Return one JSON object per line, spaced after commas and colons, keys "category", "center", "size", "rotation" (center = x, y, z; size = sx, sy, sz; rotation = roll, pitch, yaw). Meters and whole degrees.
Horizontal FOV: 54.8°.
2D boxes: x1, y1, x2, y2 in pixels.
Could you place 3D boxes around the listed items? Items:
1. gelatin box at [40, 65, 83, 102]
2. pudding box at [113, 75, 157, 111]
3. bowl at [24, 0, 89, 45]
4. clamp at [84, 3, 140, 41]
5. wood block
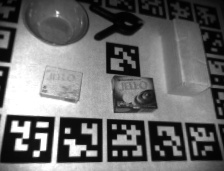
{"category": "gelatin box", "center": [-0.122, -0.004, 0.527], "size": [0.090, 0.030, 0.073], "rotation": [13, 68, -12]}
{"category": "pudding box", "center": [0.059, 0.022, 0.572], "size": [0.114, 0.038, 0.090], "rotation": [4, 73, -14]}
{"category": "bowl", "center": [-0.146, -0.168, 0.577], "size": [0.163, 0.055, 0.161], "rotation": [6, 71, -16]}
{"category": "clamp", "center": [0.007, -0.189, 0.645], "size": [0.166, 0.036, 0.121], "rotation": [-5, 71, -21]}
{"category": "wood block", "center": [0.218, -0.082, 0.632], "size": [0.090, 0.090, 0.205], "rotation": [8, 68, -15]}
